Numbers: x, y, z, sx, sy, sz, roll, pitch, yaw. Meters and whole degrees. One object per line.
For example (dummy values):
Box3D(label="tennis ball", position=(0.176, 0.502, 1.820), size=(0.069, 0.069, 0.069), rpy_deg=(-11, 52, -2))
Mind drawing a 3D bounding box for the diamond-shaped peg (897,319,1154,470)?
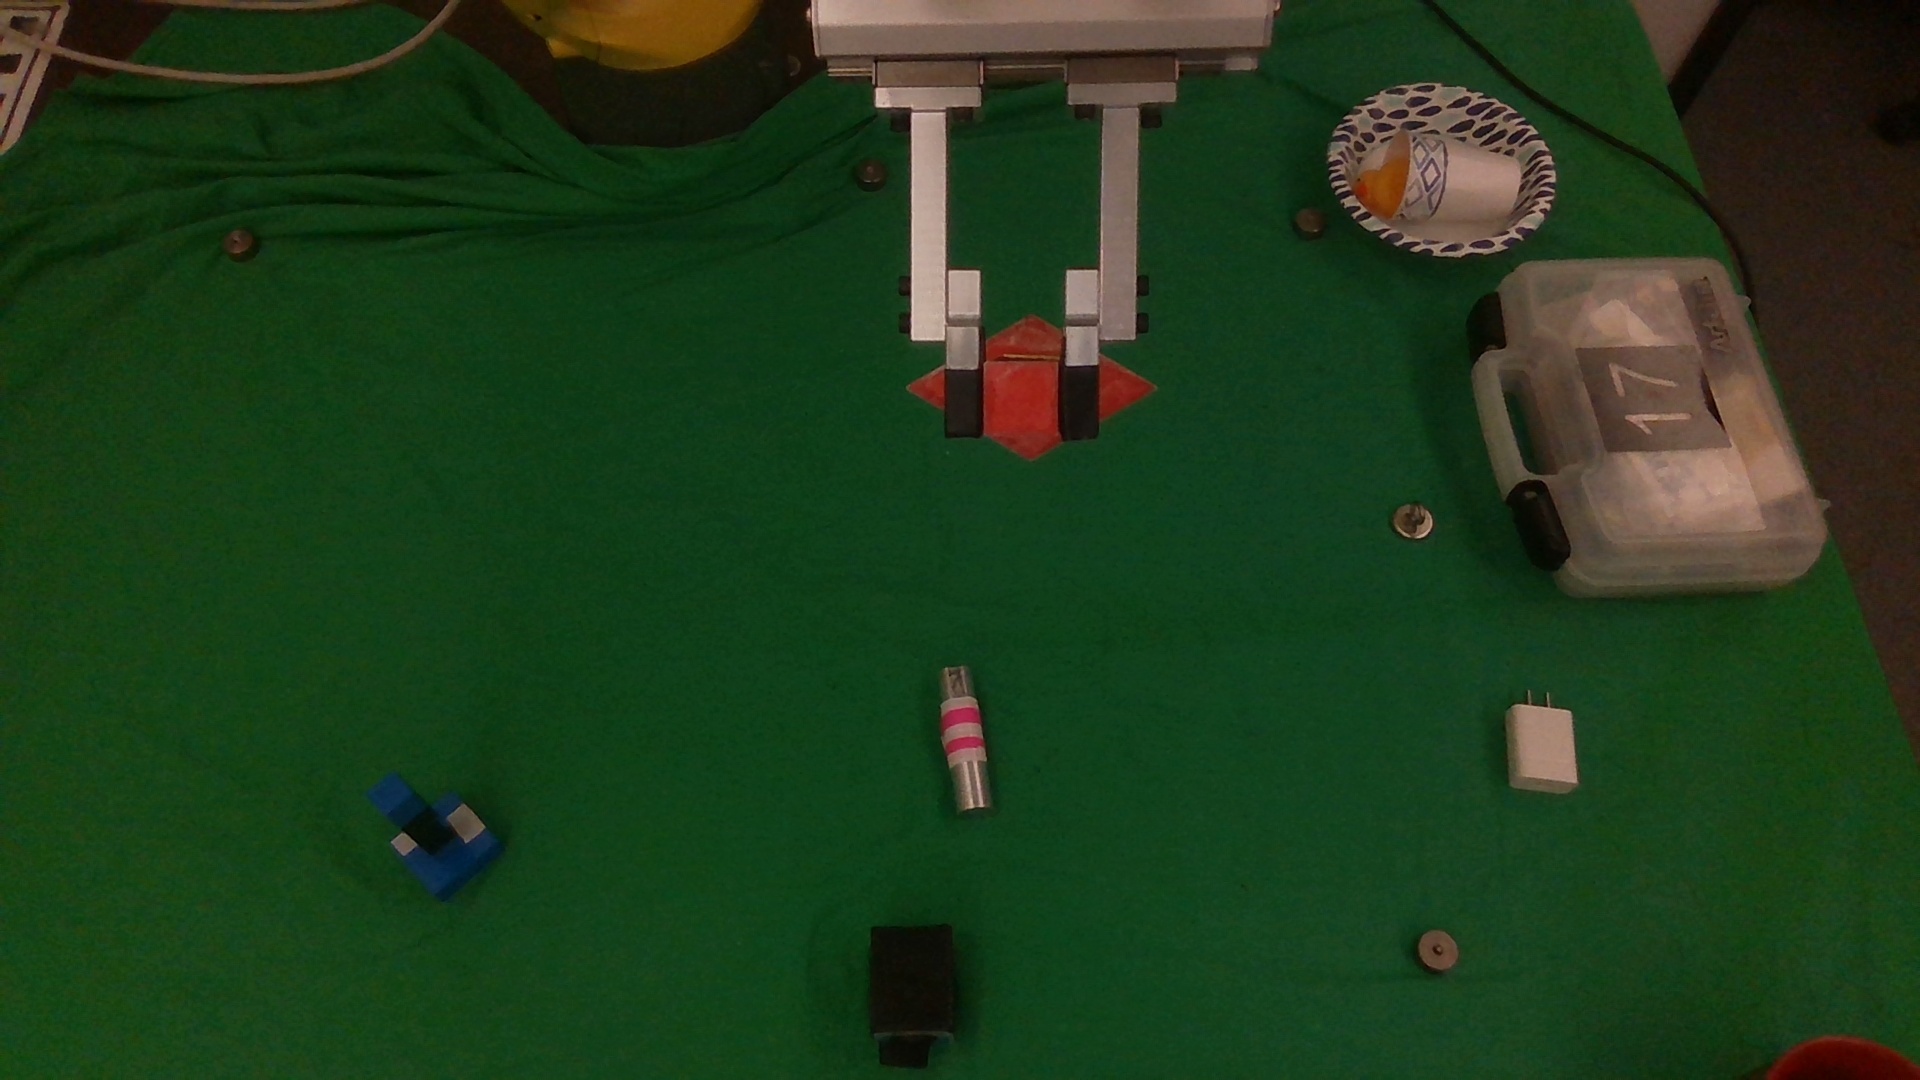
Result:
Box3D(label="diamond-shaped peg", position=(0.017, -0.041, 0.416), size=(0.074, 0.122, 0.045), rpy_deg=(-29, 95, 9))

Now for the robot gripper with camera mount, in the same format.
Box3D(label="robot gripper with camera mount", position=(0.019, -0.095, 0.291), size=(0.119, 0.193, 0.158), rpy_deg=(-1, 99, -2))
